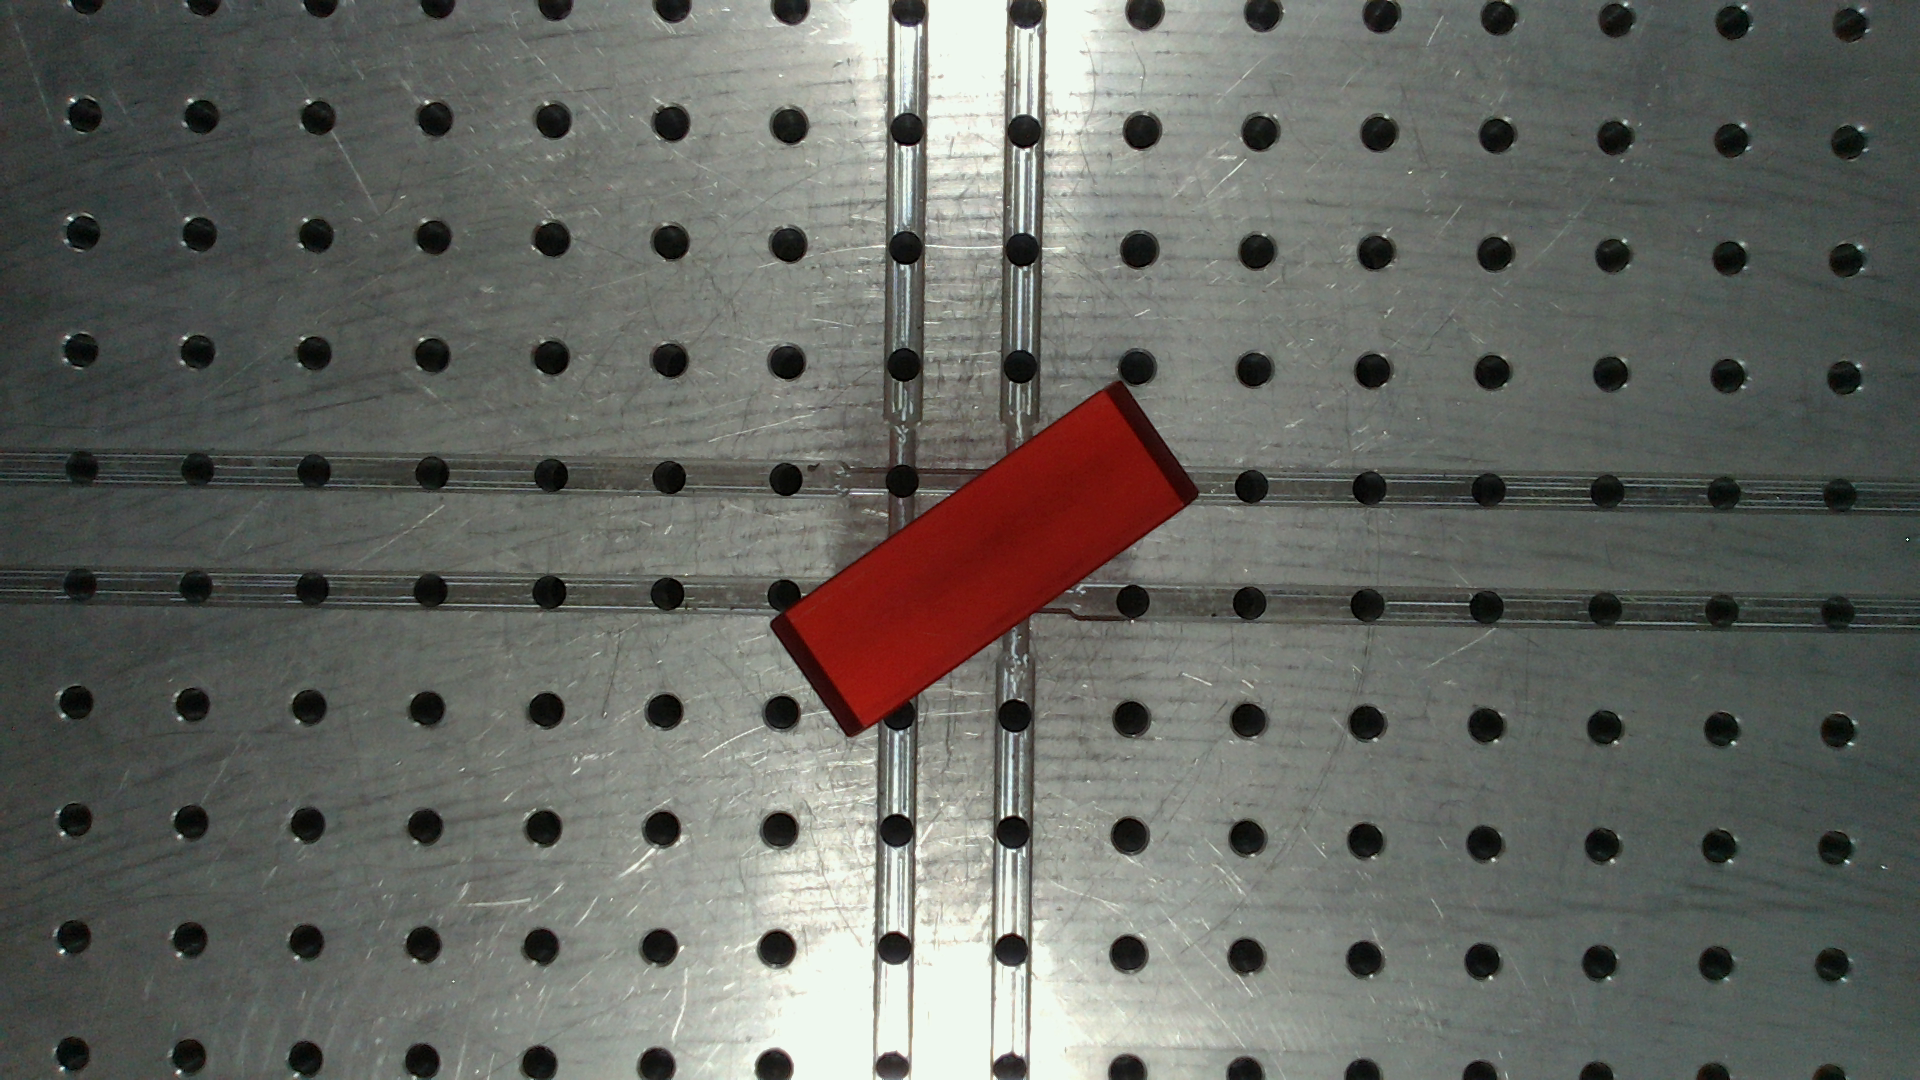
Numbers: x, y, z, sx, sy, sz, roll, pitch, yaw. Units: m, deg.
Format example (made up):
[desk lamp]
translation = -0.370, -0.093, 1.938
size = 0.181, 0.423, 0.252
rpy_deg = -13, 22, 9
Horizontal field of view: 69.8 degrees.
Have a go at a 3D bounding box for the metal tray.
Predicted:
[metal tray]
translation = 0.005, 0.004, 0.345
size = 0.090, 0.130, 0.030
rpy_deg = -35, 90, 0
